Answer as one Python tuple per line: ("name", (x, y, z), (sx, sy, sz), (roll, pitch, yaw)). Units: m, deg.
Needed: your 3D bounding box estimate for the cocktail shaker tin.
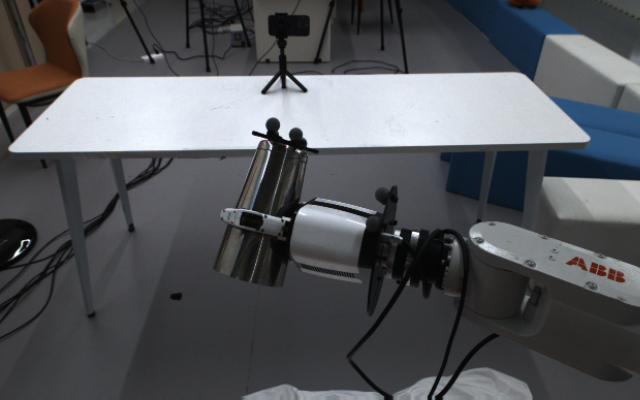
("cocktail shaker tin", (-0.068, 0.016, 0.617), (0.093, 0.170, 0.093), (15, -4, 1))
